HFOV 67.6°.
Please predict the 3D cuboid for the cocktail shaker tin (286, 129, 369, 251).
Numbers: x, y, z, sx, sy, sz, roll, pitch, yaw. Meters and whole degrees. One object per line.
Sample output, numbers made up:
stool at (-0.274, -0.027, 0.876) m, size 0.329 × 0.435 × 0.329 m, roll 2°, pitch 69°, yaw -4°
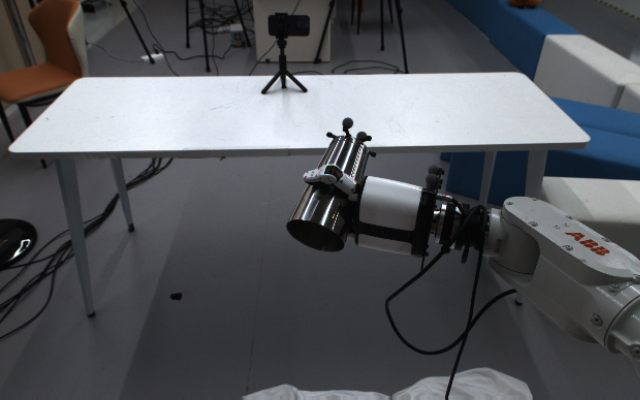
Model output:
cocktail shaker tin at (0.019, -0.016, 0.752) m, size 0.093 × 0.093 × 0.170 m, roll 14°, pitch 61°, yaw 17°
